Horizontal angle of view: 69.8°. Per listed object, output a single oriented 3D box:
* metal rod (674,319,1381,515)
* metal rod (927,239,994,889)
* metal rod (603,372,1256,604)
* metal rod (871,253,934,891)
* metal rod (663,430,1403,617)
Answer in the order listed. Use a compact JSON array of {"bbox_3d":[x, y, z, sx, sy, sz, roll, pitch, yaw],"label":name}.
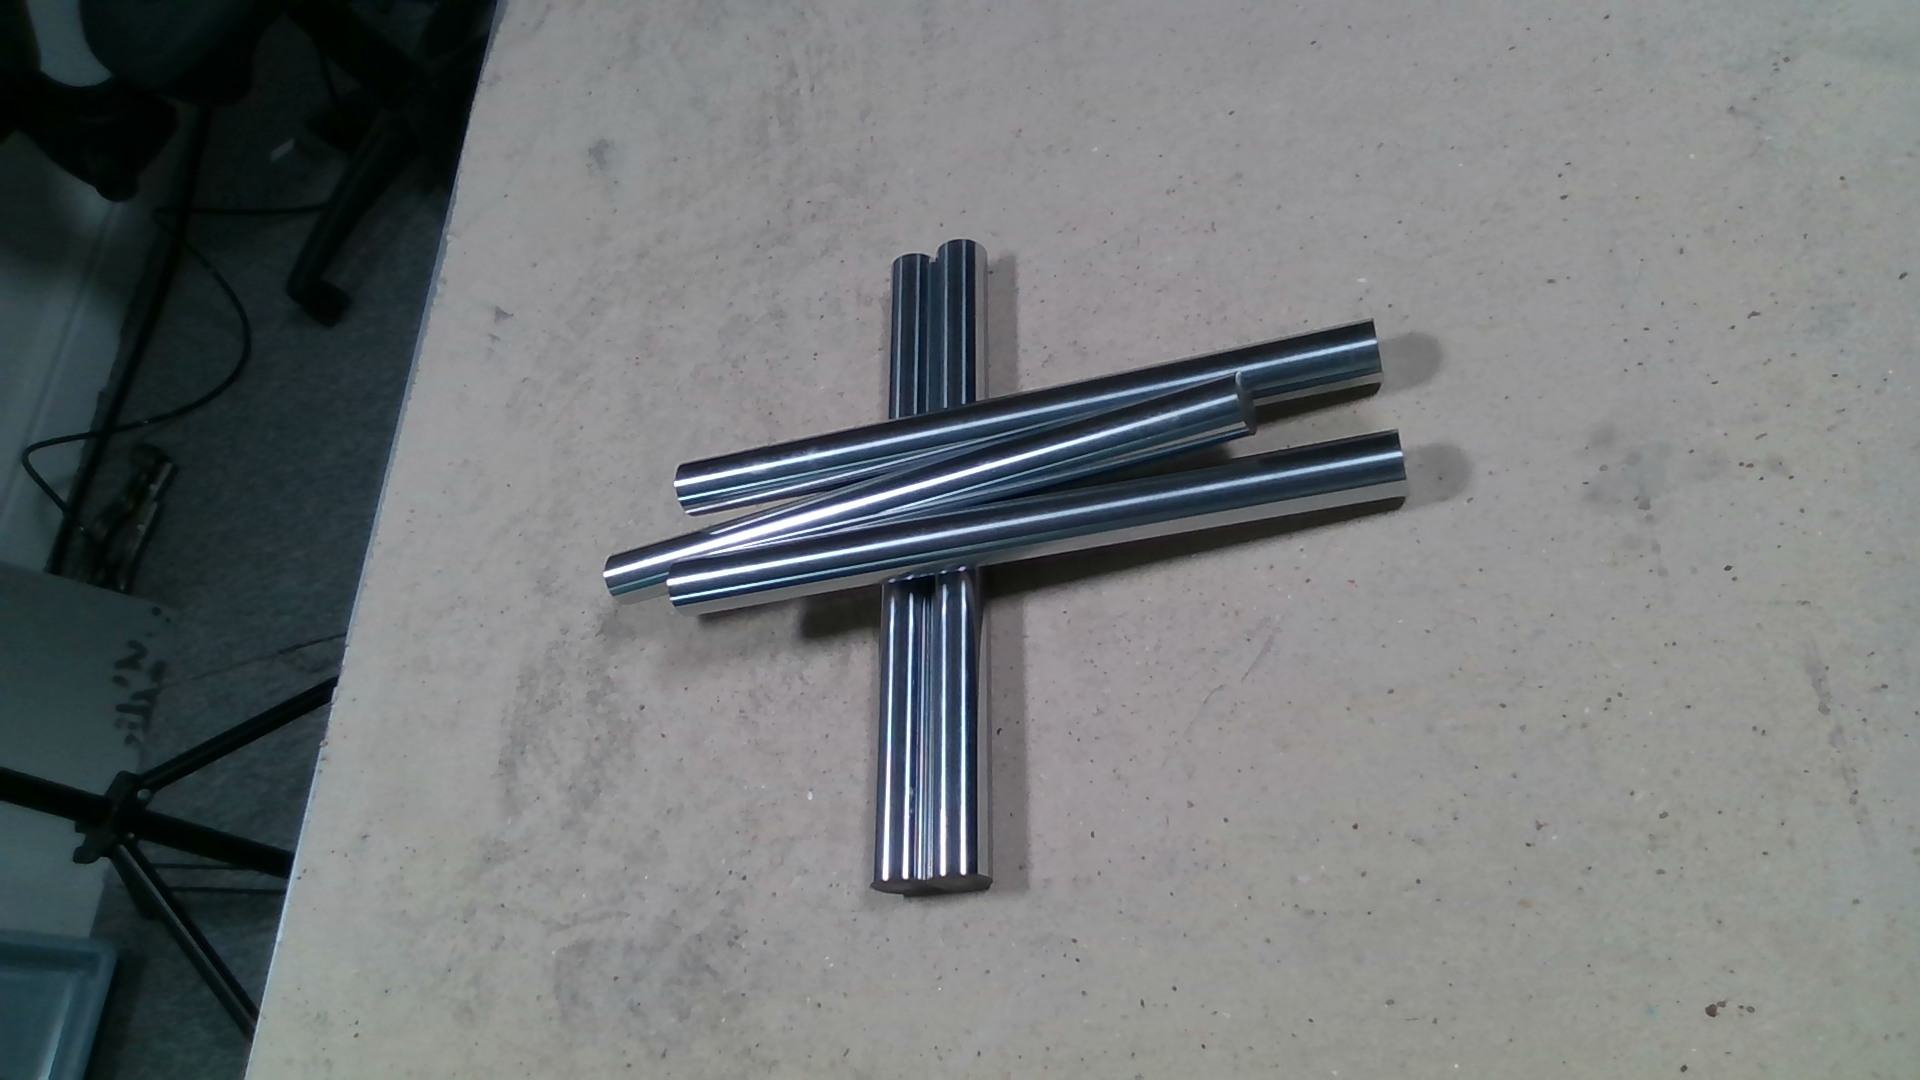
[{"bbox_3d":[0.018,-0.048,0.573,0.300,0.025,0.025,-10,60,18],"label":"metal rod"},{"bbox_3d":[0.001,-0.004,0.588,0.025,0.025,0.299,-14,59,25],"label":"metal rod"},{"bbox_3d":[-0.025,-0.017,0.577,0.300,0.025,0.025,-15,59,25],"label":"metal rod"},{"bbox_3d":[-0.021,0.001,0.600,0.025,0.025,0.299,-14,59,25],"label":"metal rod"},{"bbox_3d":[0.019,-0.003,0.548,0.300,0.025,0.025,-10,60,18],"label":"metal rod"}]
